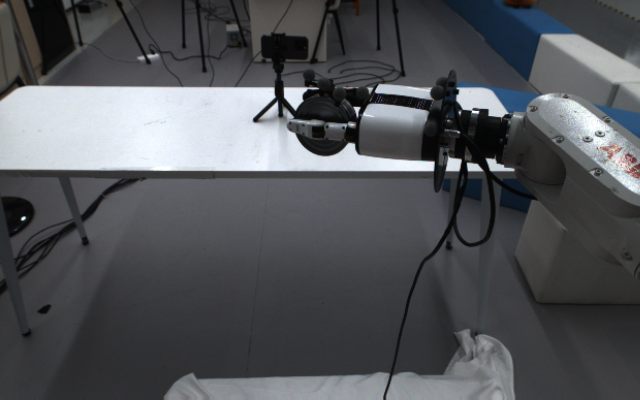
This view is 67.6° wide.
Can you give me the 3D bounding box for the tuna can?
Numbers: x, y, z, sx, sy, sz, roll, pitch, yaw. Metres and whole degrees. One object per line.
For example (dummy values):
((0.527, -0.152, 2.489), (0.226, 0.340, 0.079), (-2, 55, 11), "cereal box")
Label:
((0.009, -0.109, 0.680), (0.085, 0.085, 0.034), (16, 29, 19), "tuna can")
